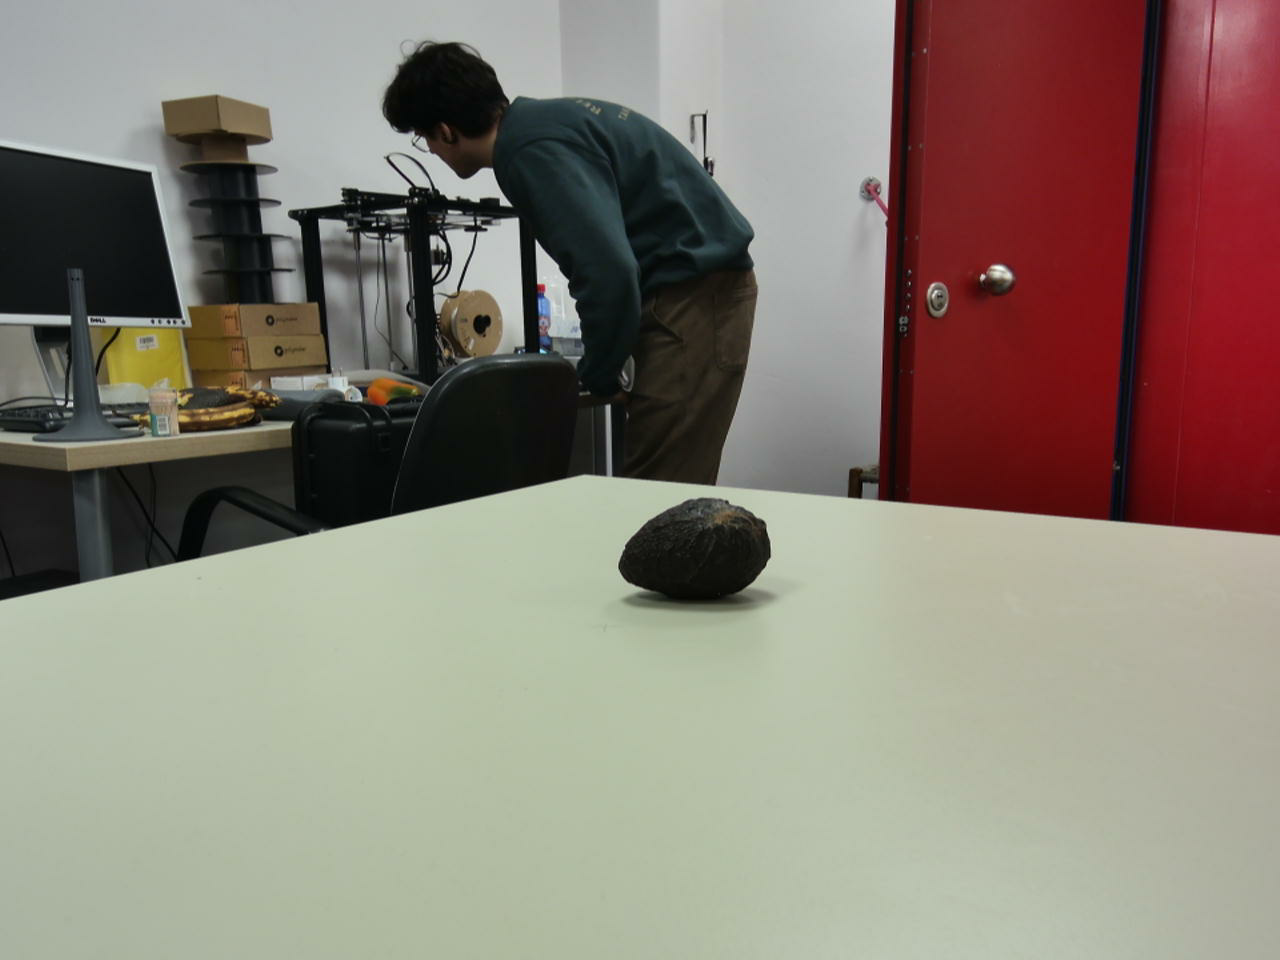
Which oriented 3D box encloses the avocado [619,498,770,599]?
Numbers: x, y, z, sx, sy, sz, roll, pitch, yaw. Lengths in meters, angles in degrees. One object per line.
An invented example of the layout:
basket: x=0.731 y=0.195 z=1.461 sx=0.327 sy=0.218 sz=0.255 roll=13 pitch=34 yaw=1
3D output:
avocado: x=0.034 y=0.042 z=0.618 sx=0.092 sy=0.062 sz=0.062 roll=3 pitch=7 yaw=11
